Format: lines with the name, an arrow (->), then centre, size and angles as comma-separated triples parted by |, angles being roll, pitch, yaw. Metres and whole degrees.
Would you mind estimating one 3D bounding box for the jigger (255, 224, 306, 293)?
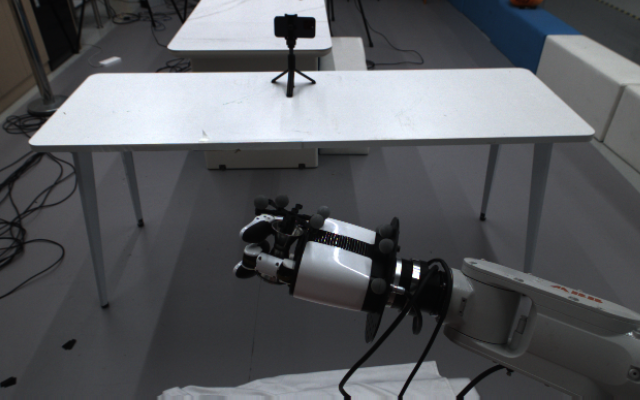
jigger -> -0.046, 0.065, 0.605 | 0.043, 0.071, 0.043 | 15, 17, -5
